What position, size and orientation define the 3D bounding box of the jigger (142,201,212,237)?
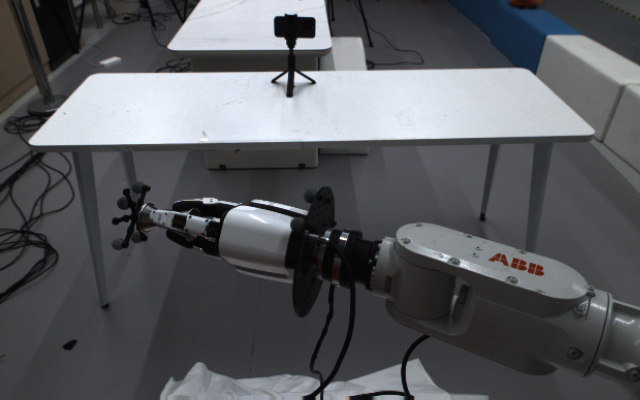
[{"bbox_3d":[-0.189,0.025,0.629,0.071,0.043,0.043,7,35,13],"label":"jigger"}]
